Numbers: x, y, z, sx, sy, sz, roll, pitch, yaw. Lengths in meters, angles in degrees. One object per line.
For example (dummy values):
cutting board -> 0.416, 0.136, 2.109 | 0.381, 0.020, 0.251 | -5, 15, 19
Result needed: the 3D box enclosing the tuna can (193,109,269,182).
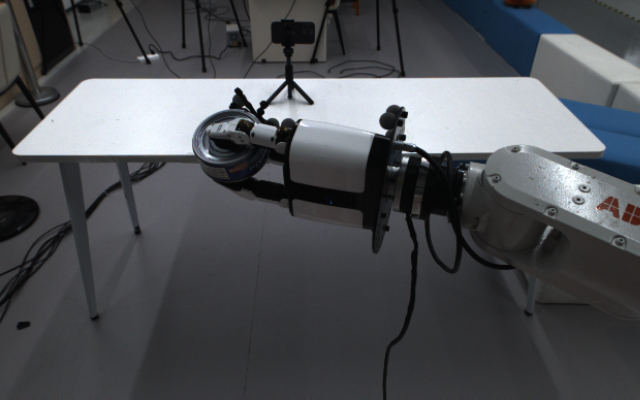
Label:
tuna can -> -0.102, -0.065, 0.565 | 0.085, 0.034, 0.085 | -4, 58, 6
